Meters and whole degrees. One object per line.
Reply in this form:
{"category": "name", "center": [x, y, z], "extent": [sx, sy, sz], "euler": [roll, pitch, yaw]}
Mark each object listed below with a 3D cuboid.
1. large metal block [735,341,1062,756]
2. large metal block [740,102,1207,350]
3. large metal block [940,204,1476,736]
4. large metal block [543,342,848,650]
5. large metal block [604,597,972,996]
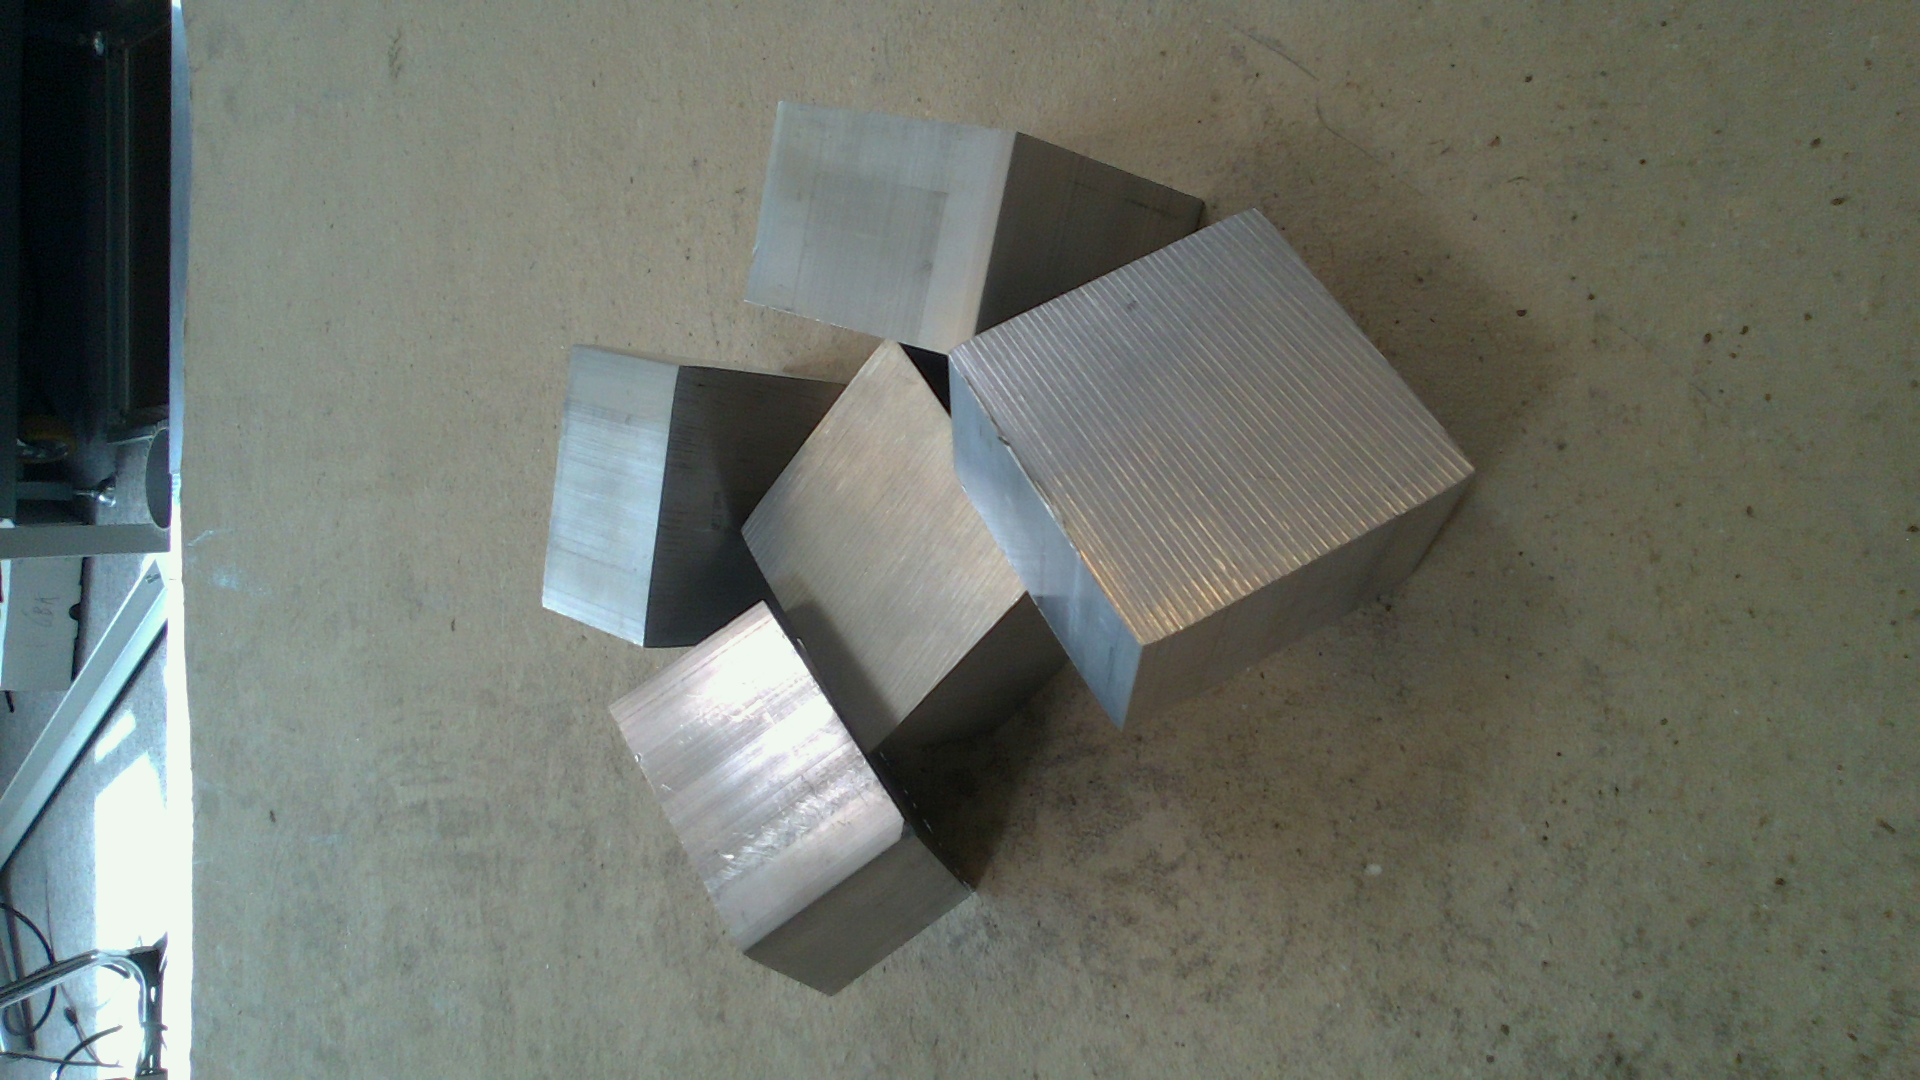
{"category": "large metal block", "center": [-0.005, 0.001, 0.381], "extent": [0.080, 0.050, 0.080], "euler": [-49, 62, 29]}
{"category": "large metal block", "center": [0.004, -0.075, 0.356], "extent": [0.080, 0.080, 0.050], "euler": [20, 103, 38]}
{"category": "large metal block", "center": [0.051, -0.016, 0.309], "extent": [0.080, 0.080, 0.050], "euler": [58, 167, 24]}
{"category": "large metal block", "center": [-0.075, -0.014, 0.423], "extent": [0.050, 0.080, 0.080], "euler": [15, 101, 39]}
{"category": "large metal block", "center": [-0.046, 0.075, 0.390], "extent": [0.050, 0.080, 0.080], "euler": [-34, 63, -5]}
